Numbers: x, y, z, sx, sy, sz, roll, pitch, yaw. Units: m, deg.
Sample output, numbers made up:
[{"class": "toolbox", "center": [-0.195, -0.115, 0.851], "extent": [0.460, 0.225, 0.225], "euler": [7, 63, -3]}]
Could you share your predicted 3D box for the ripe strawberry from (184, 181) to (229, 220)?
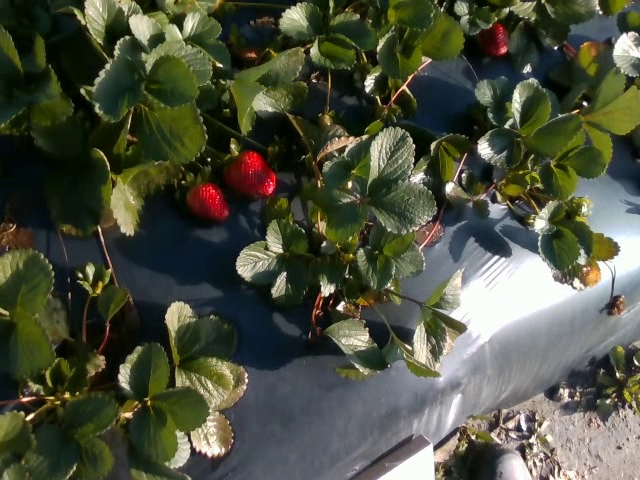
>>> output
[{"class": "ripe strawberry", "center": [-0.107, -0.033, 0.599], "extent": [0.051, 0.043, 0.036], "euler": [34, 6, 8]}]

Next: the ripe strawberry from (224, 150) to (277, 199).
[{"class": "ripe strawberry", "center": [-0.066, -0.063, 0.622], "extent": [0.057, 0.052, 0.046], "euler": [40, 0, 11]}]
